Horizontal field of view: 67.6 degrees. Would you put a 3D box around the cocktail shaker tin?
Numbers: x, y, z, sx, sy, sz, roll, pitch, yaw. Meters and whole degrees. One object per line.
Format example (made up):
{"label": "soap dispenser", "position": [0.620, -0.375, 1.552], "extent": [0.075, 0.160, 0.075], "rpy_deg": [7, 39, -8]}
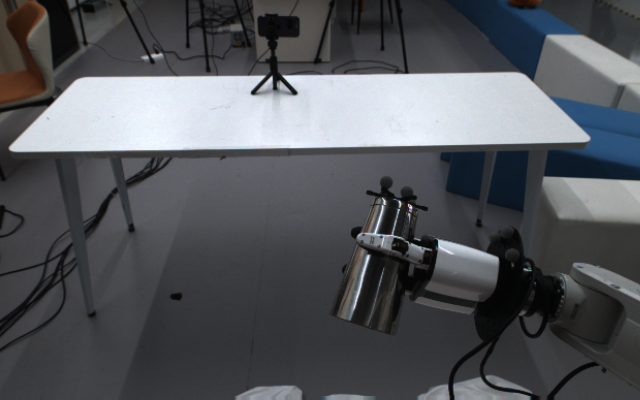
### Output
{"label": "cocktail shaker tin", "position": [0.082, 0.087, 0.657], "extent": [0.093, 0.093, 0.170], "rpy_deg": [14, 76, 16]}
